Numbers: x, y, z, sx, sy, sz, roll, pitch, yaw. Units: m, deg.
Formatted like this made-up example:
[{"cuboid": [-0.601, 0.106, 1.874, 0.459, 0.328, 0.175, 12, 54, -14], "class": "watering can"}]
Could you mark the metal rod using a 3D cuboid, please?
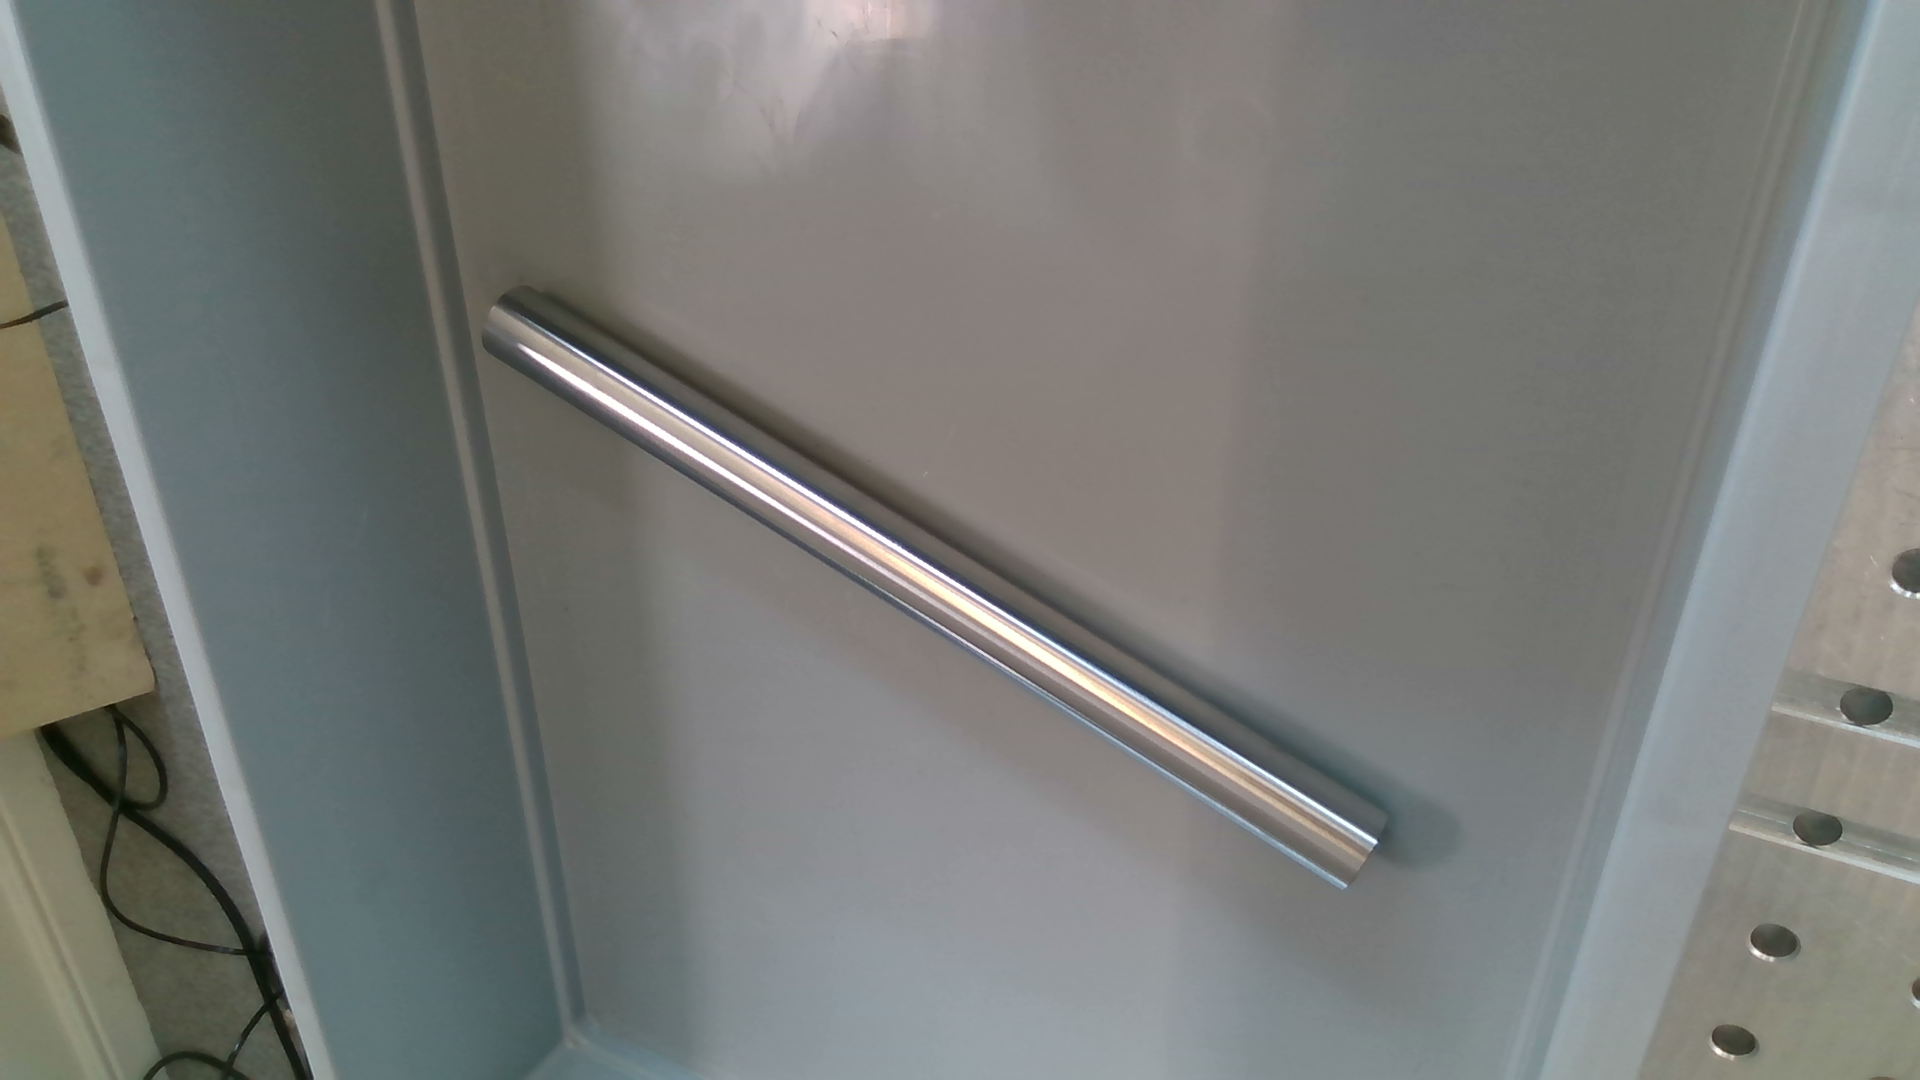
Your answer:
[{"cuboid": [-0.018, 0.005, 0.399, 0.300, 0.025, 0.025, 31, 127, 14], "class": "metal rod"}]
